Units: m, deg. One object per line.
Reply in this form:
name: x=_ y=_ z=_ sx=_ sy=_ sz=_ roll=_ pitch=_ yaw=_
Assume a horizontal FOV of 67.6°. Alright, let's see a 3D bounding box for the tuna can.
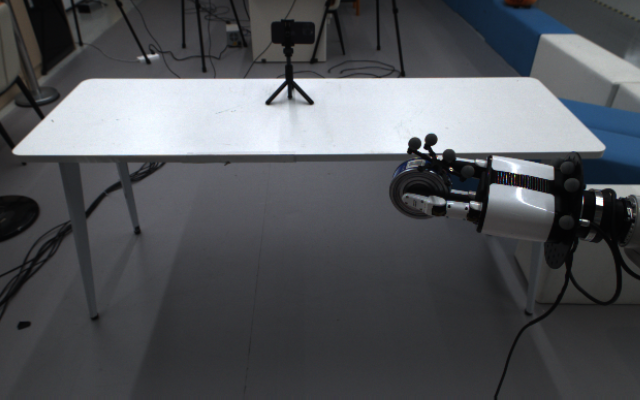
tuna can: x=0.146 y=-0.010 z=0.684 sx=0.085 sy=0.085 sz=0.034 roll=12 pitch=35 yaw=14
